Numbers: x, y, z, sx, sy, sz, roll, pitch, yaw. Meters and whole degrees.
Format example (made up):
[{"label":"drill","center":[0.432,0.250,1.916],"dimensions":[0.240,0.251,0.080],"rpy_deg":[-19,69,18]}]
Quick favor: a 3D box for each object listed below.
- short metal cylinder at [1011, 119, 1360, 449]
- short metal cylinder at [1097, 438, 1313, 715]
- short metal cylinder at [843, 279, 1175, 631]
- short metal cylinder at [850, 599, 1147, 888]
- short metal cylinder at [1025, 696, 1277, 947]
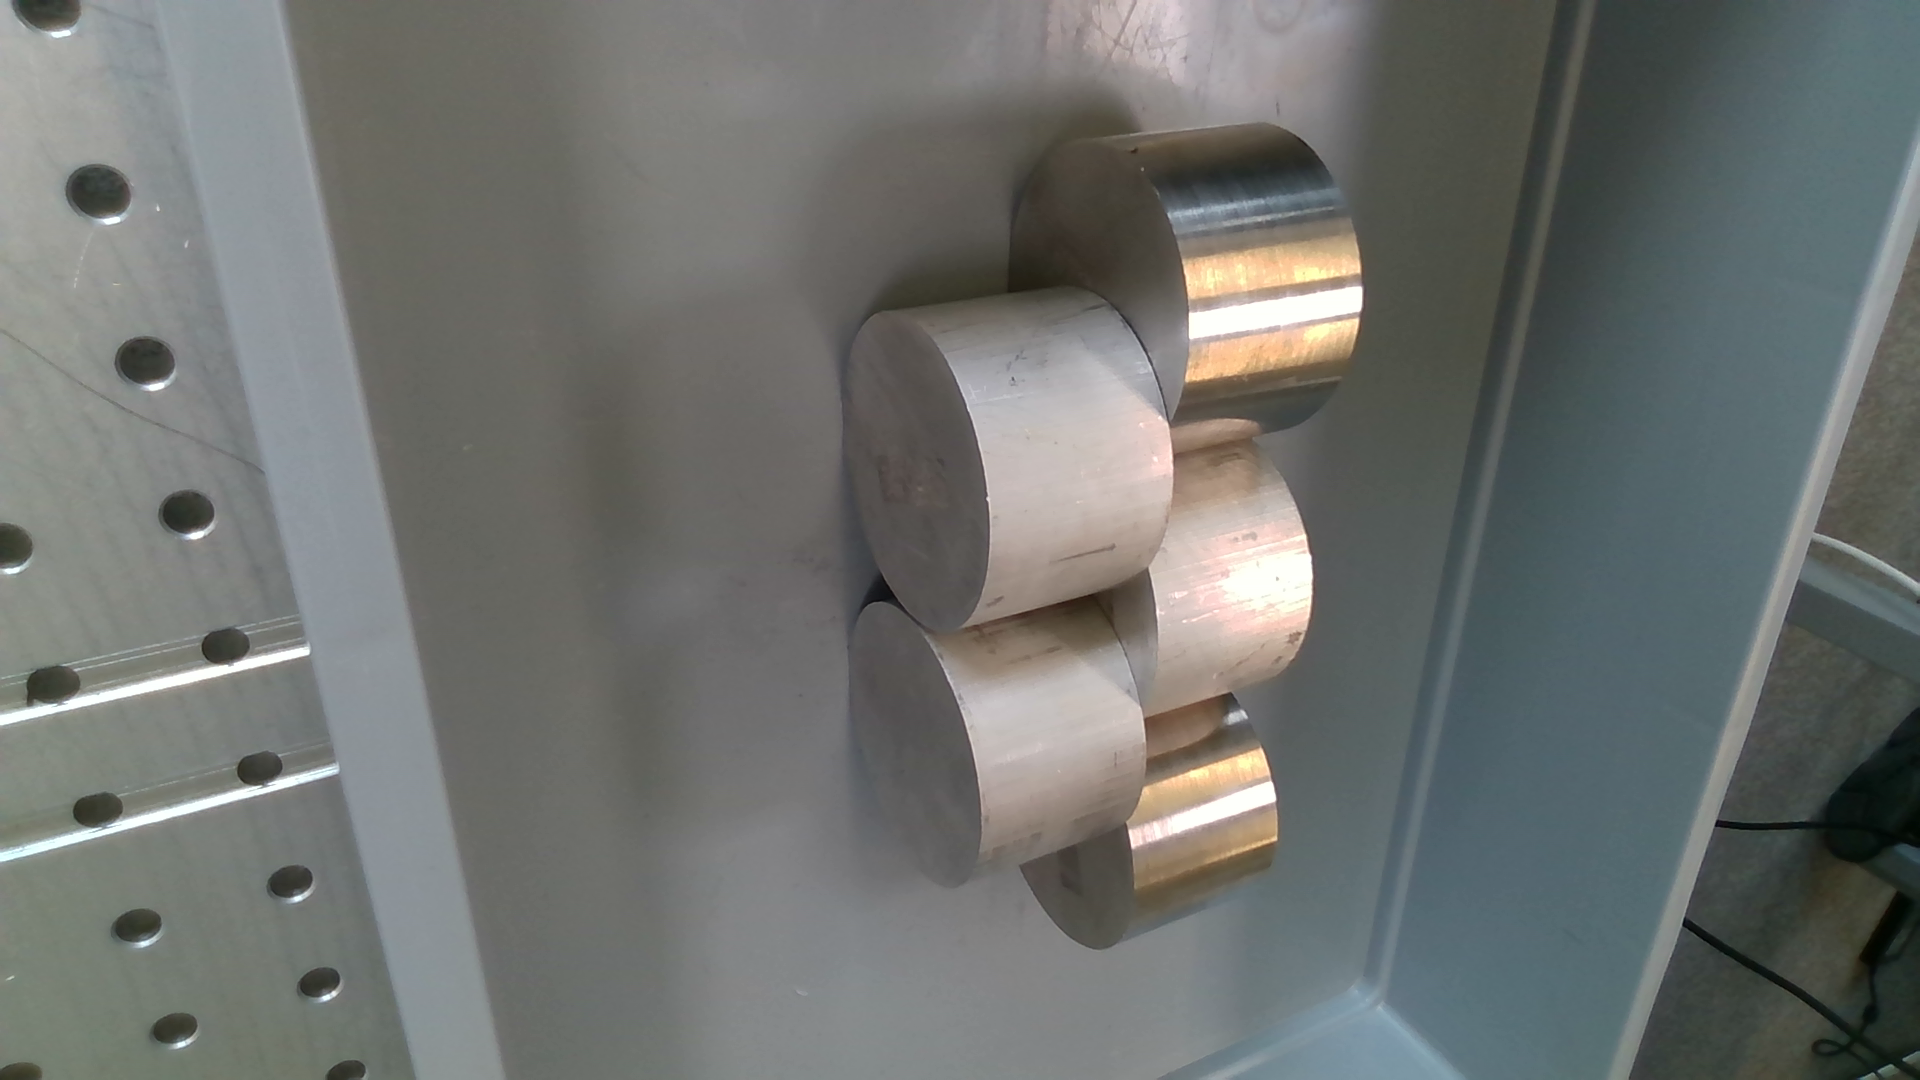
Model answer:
[{"label":"short metal cylinder","center":[0.055,-0.064,0.352],"dimensions":[0.050,0.080,0.080],"rpy_deg":[-14,121,-25]},{"label":"short metal cylinder","center":[0.053,0.008,0.390],"dimensions":[0.050,0.080,0.080],"rpy_deg":[-14,121,-25]},{"label":"short metal cylinder","center":[0.010,-0.022,0.347],"dimensions":[0.050,0.080,0.080],"rpy_deg":[-14,121,-25]},{"label":"short metal cylinder","center":[0.008,0.050,0.385],"dimensions":[0.050,0.080,0.080],"rpy_deg":[-14,121,-25]},{"label":"short metal cylinder","center":[0.052,0.079,0.428],"dimensions":[0.050,0.080,0.080],"rpy_deg":[-13,121,-26]}]
